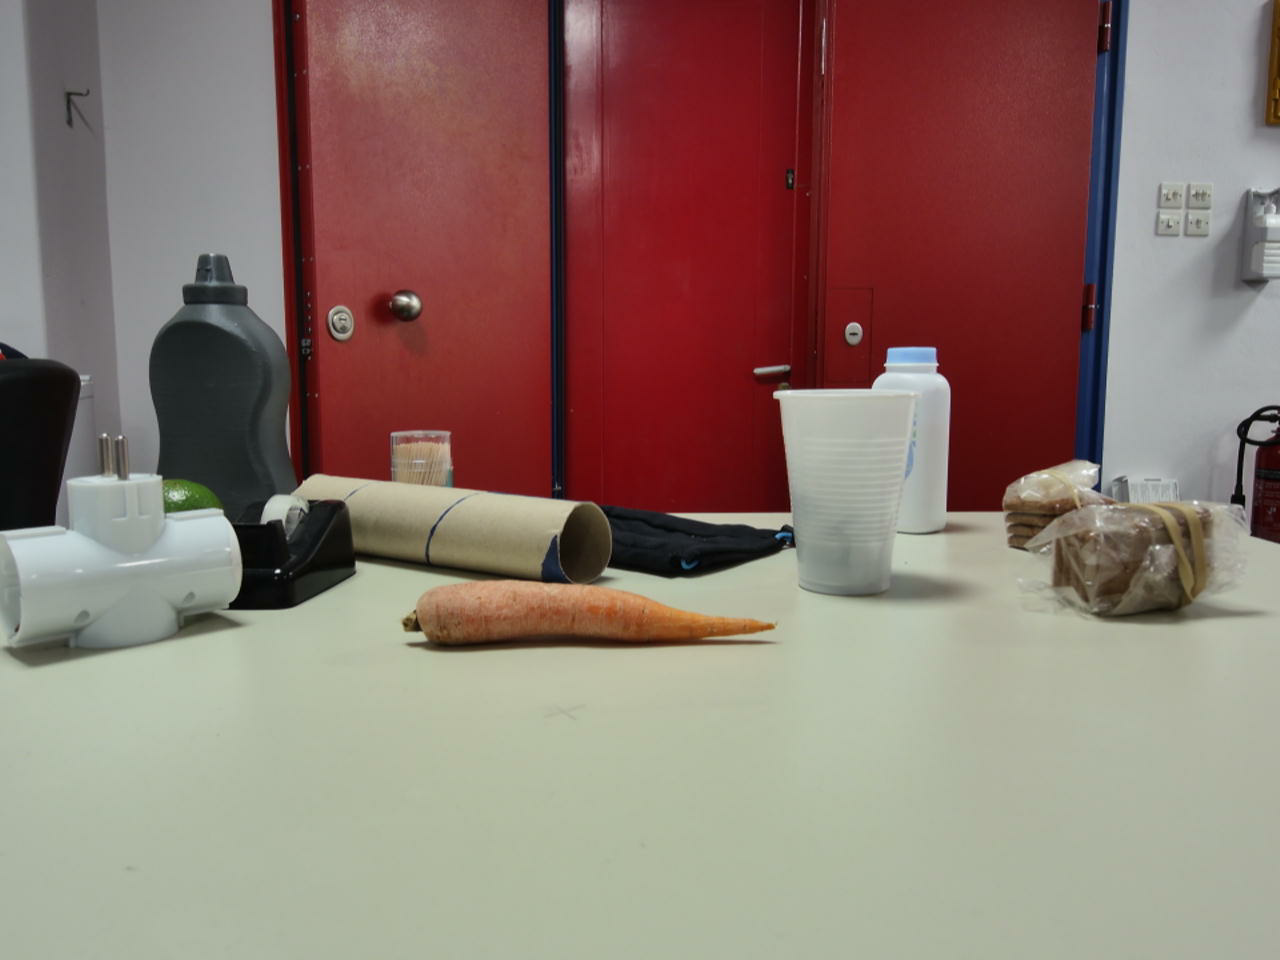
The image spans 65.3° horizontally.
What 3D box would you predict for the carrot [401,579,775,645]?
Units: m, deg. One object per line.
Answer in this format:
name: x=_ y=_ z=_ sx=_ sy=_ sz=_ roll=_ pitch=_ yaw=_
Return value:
carrot: x=-0.023 y=0.059 z=0.444 sx=0.163 sy=0.029 sz=0.031 roll=0 pitch=4 yaw=-1
